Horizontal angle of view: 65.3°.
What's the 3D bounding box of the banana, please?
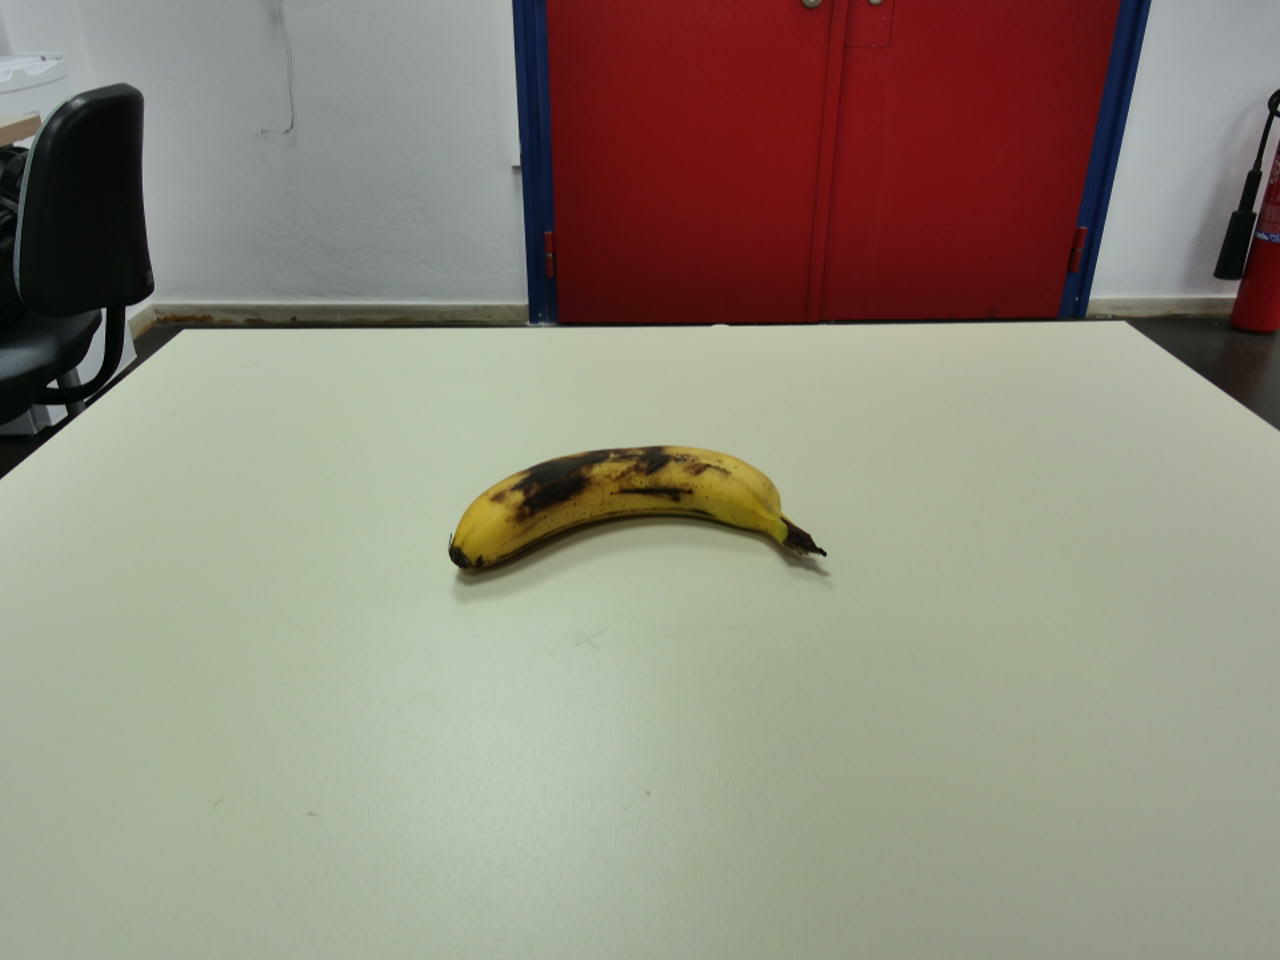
[{"bbox_3d":[-0.004,0.013,0.534,0.187,0.039,0.094,-1,26,-2],"label":"banana"}]
